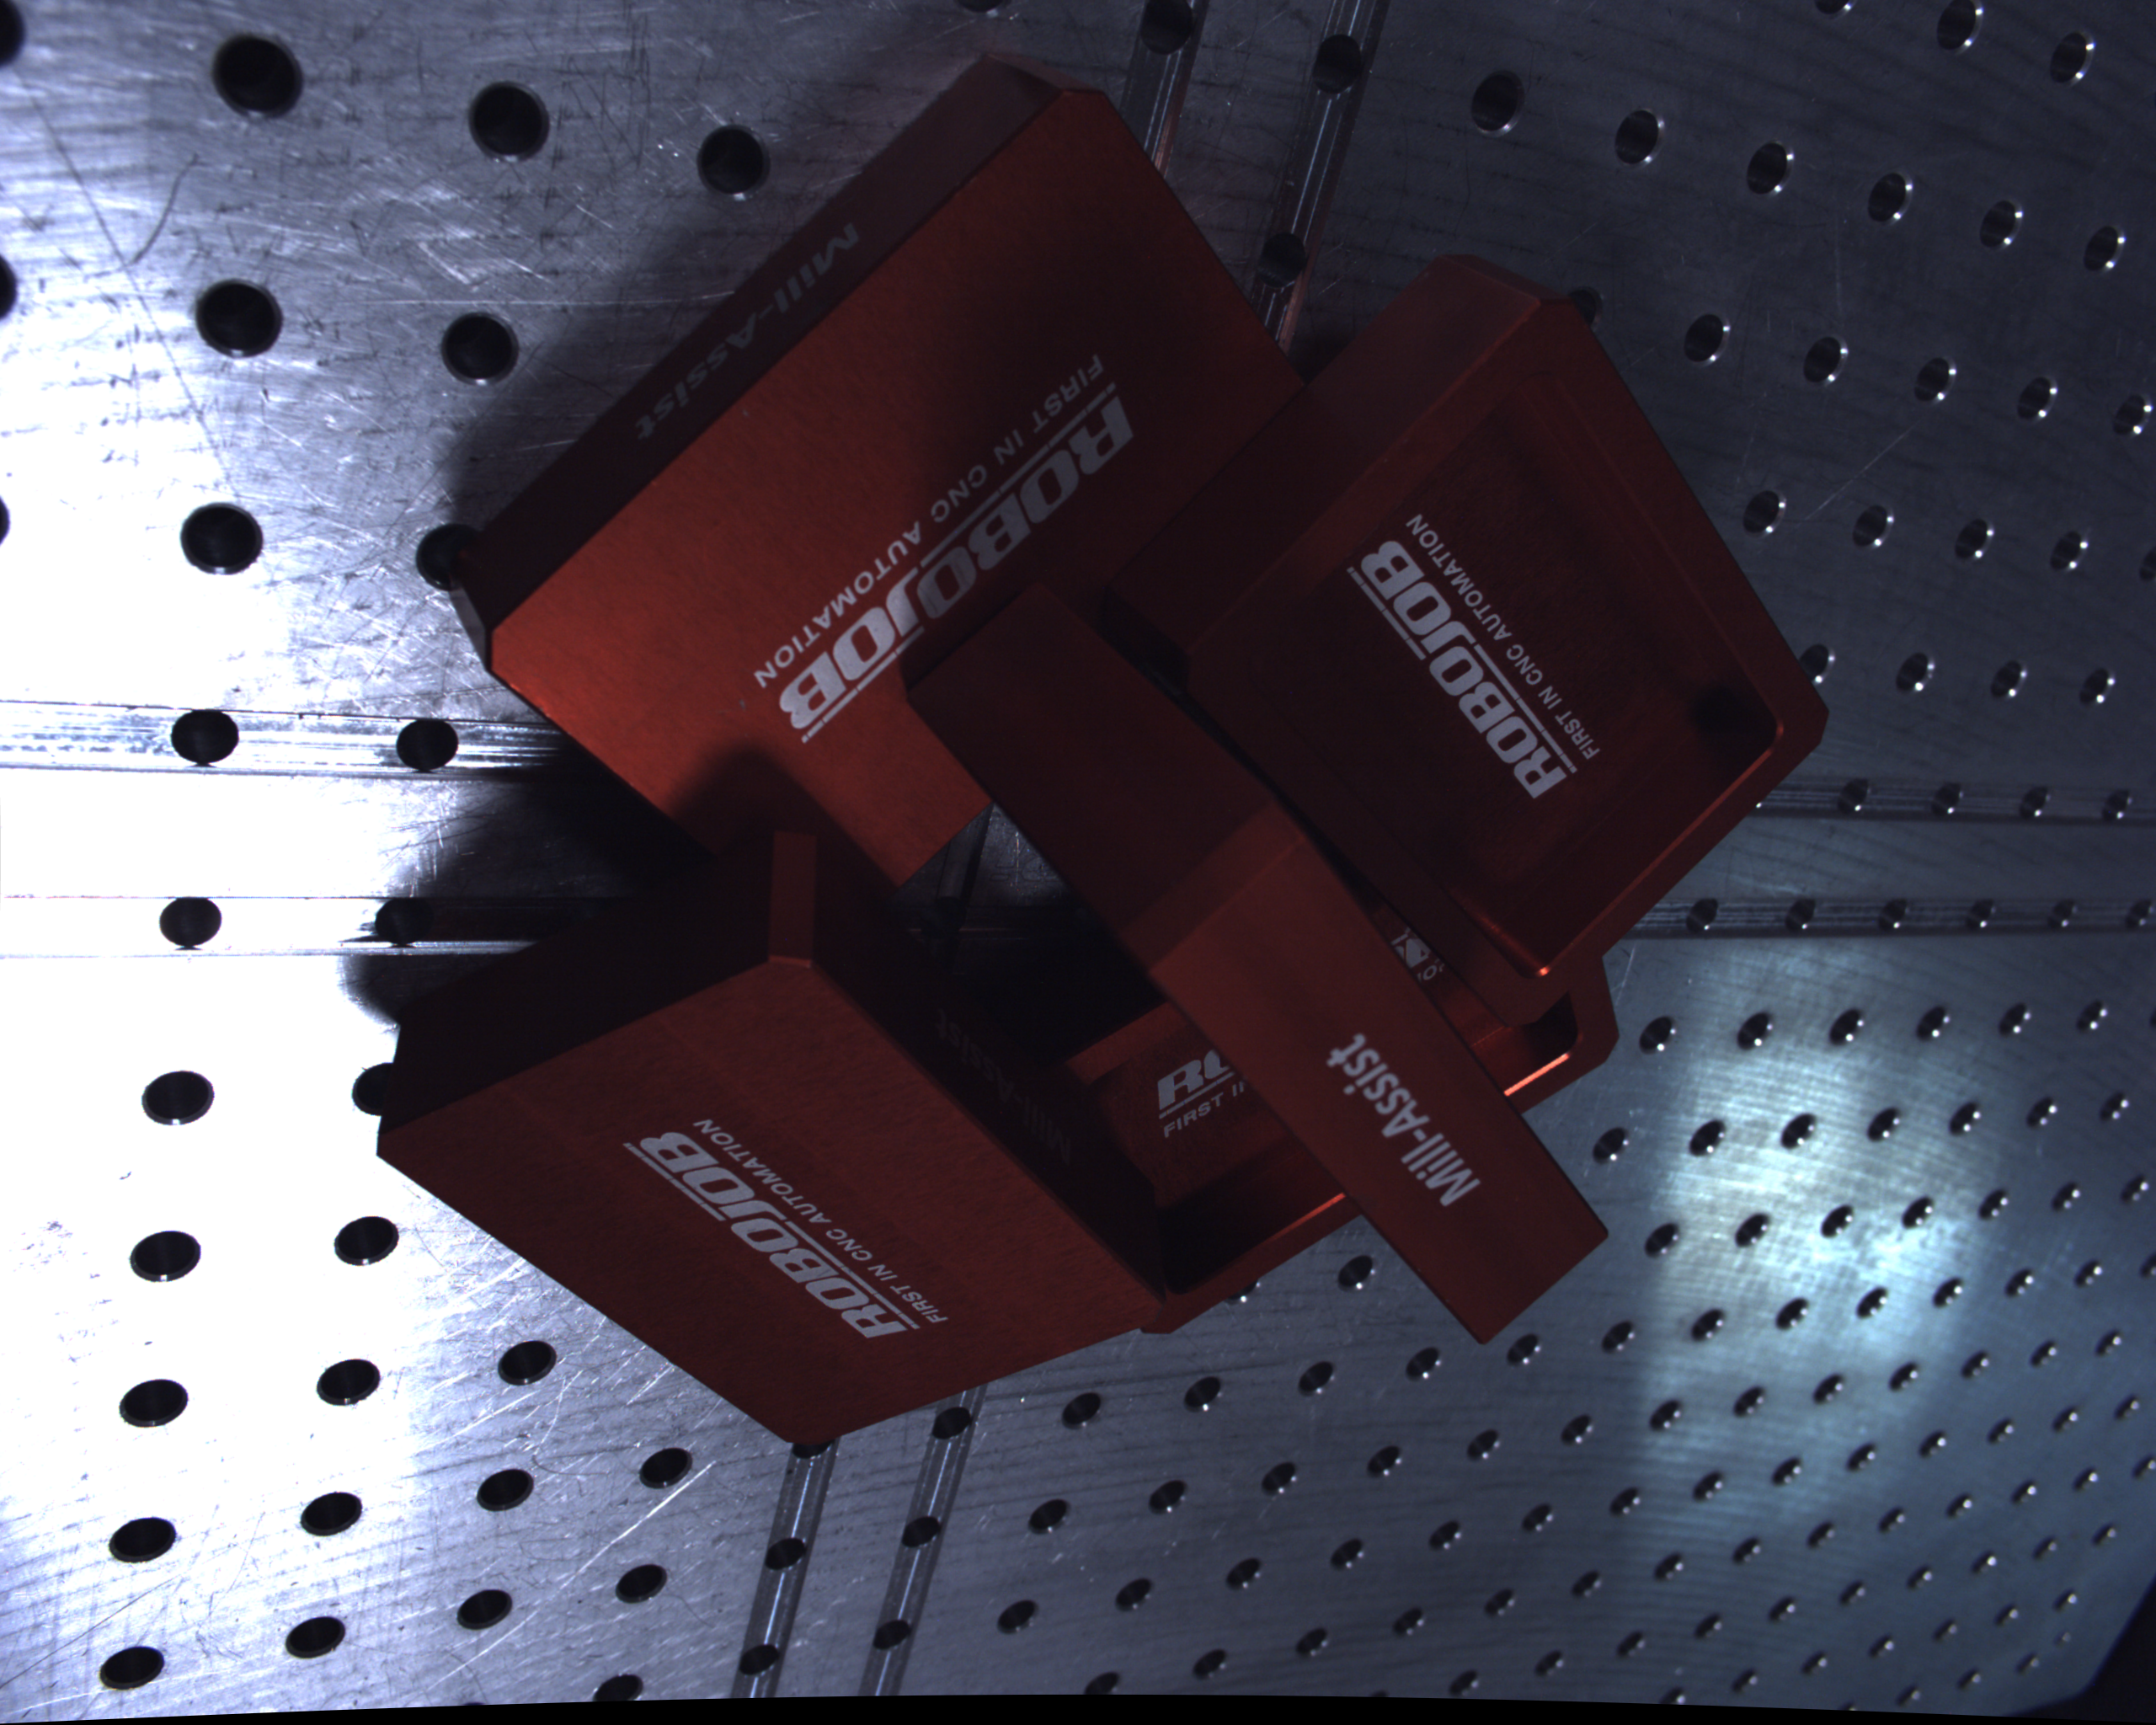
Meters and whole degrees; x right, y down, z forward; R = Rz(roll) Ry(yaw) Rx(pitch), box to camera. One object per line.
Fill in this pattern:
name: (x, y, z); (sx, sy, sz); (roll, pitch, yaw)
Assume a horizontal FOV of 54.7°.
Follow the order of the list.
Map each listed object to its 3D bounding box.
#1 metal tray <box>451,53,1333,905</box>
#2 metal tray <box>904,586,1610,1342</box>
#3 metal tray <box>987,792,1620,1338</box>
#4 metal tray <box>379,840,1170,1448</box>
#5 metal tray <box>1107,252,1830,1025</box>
metal tray: (-0.028, -0.059, 0.356); (0.130, 0.030, 0.090); (-43, 130, 1)
metal tray: (0.032, 0.019, 0.360); (0.030, 0.090, 0.130); (-42, 130, 0)
metal tray: (0.052, 0.038, 0.460); (0.131, 0.030, 0.090); (-30, 129, -10)
metal tray: (-0.052, 0.059, 0.393); (0.090, 0.030, 0.130); (-24, 132, 18)
metal tray: (0.077, -0.036, 0.390); (0.090, 0.030, 0.130); (-45, 130, 3)
